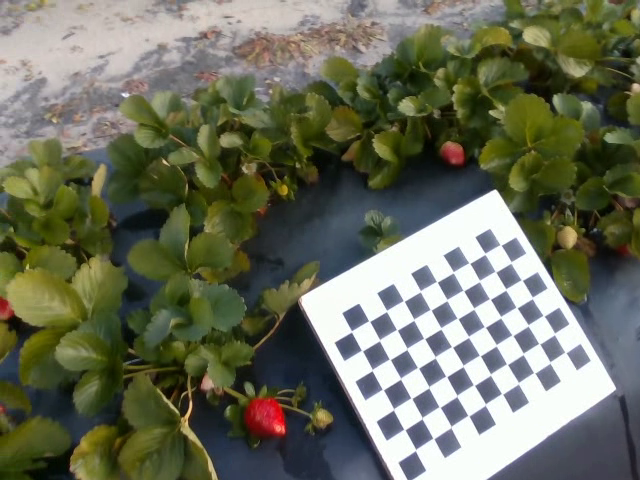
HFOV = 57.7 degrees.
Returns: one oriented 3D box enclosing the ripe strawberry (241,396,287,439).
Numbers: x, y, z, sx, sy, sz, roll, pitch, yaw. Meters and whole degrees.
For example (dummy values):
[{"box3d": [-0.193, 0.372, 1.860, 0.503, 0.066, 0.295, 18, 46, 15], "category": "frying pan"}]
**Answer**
[{"box3d": [-0.052, 0.196, 0.624, 0.052, 0.043, 0.057, 42, -14, -29], "category": "ripe strawberry"}]
